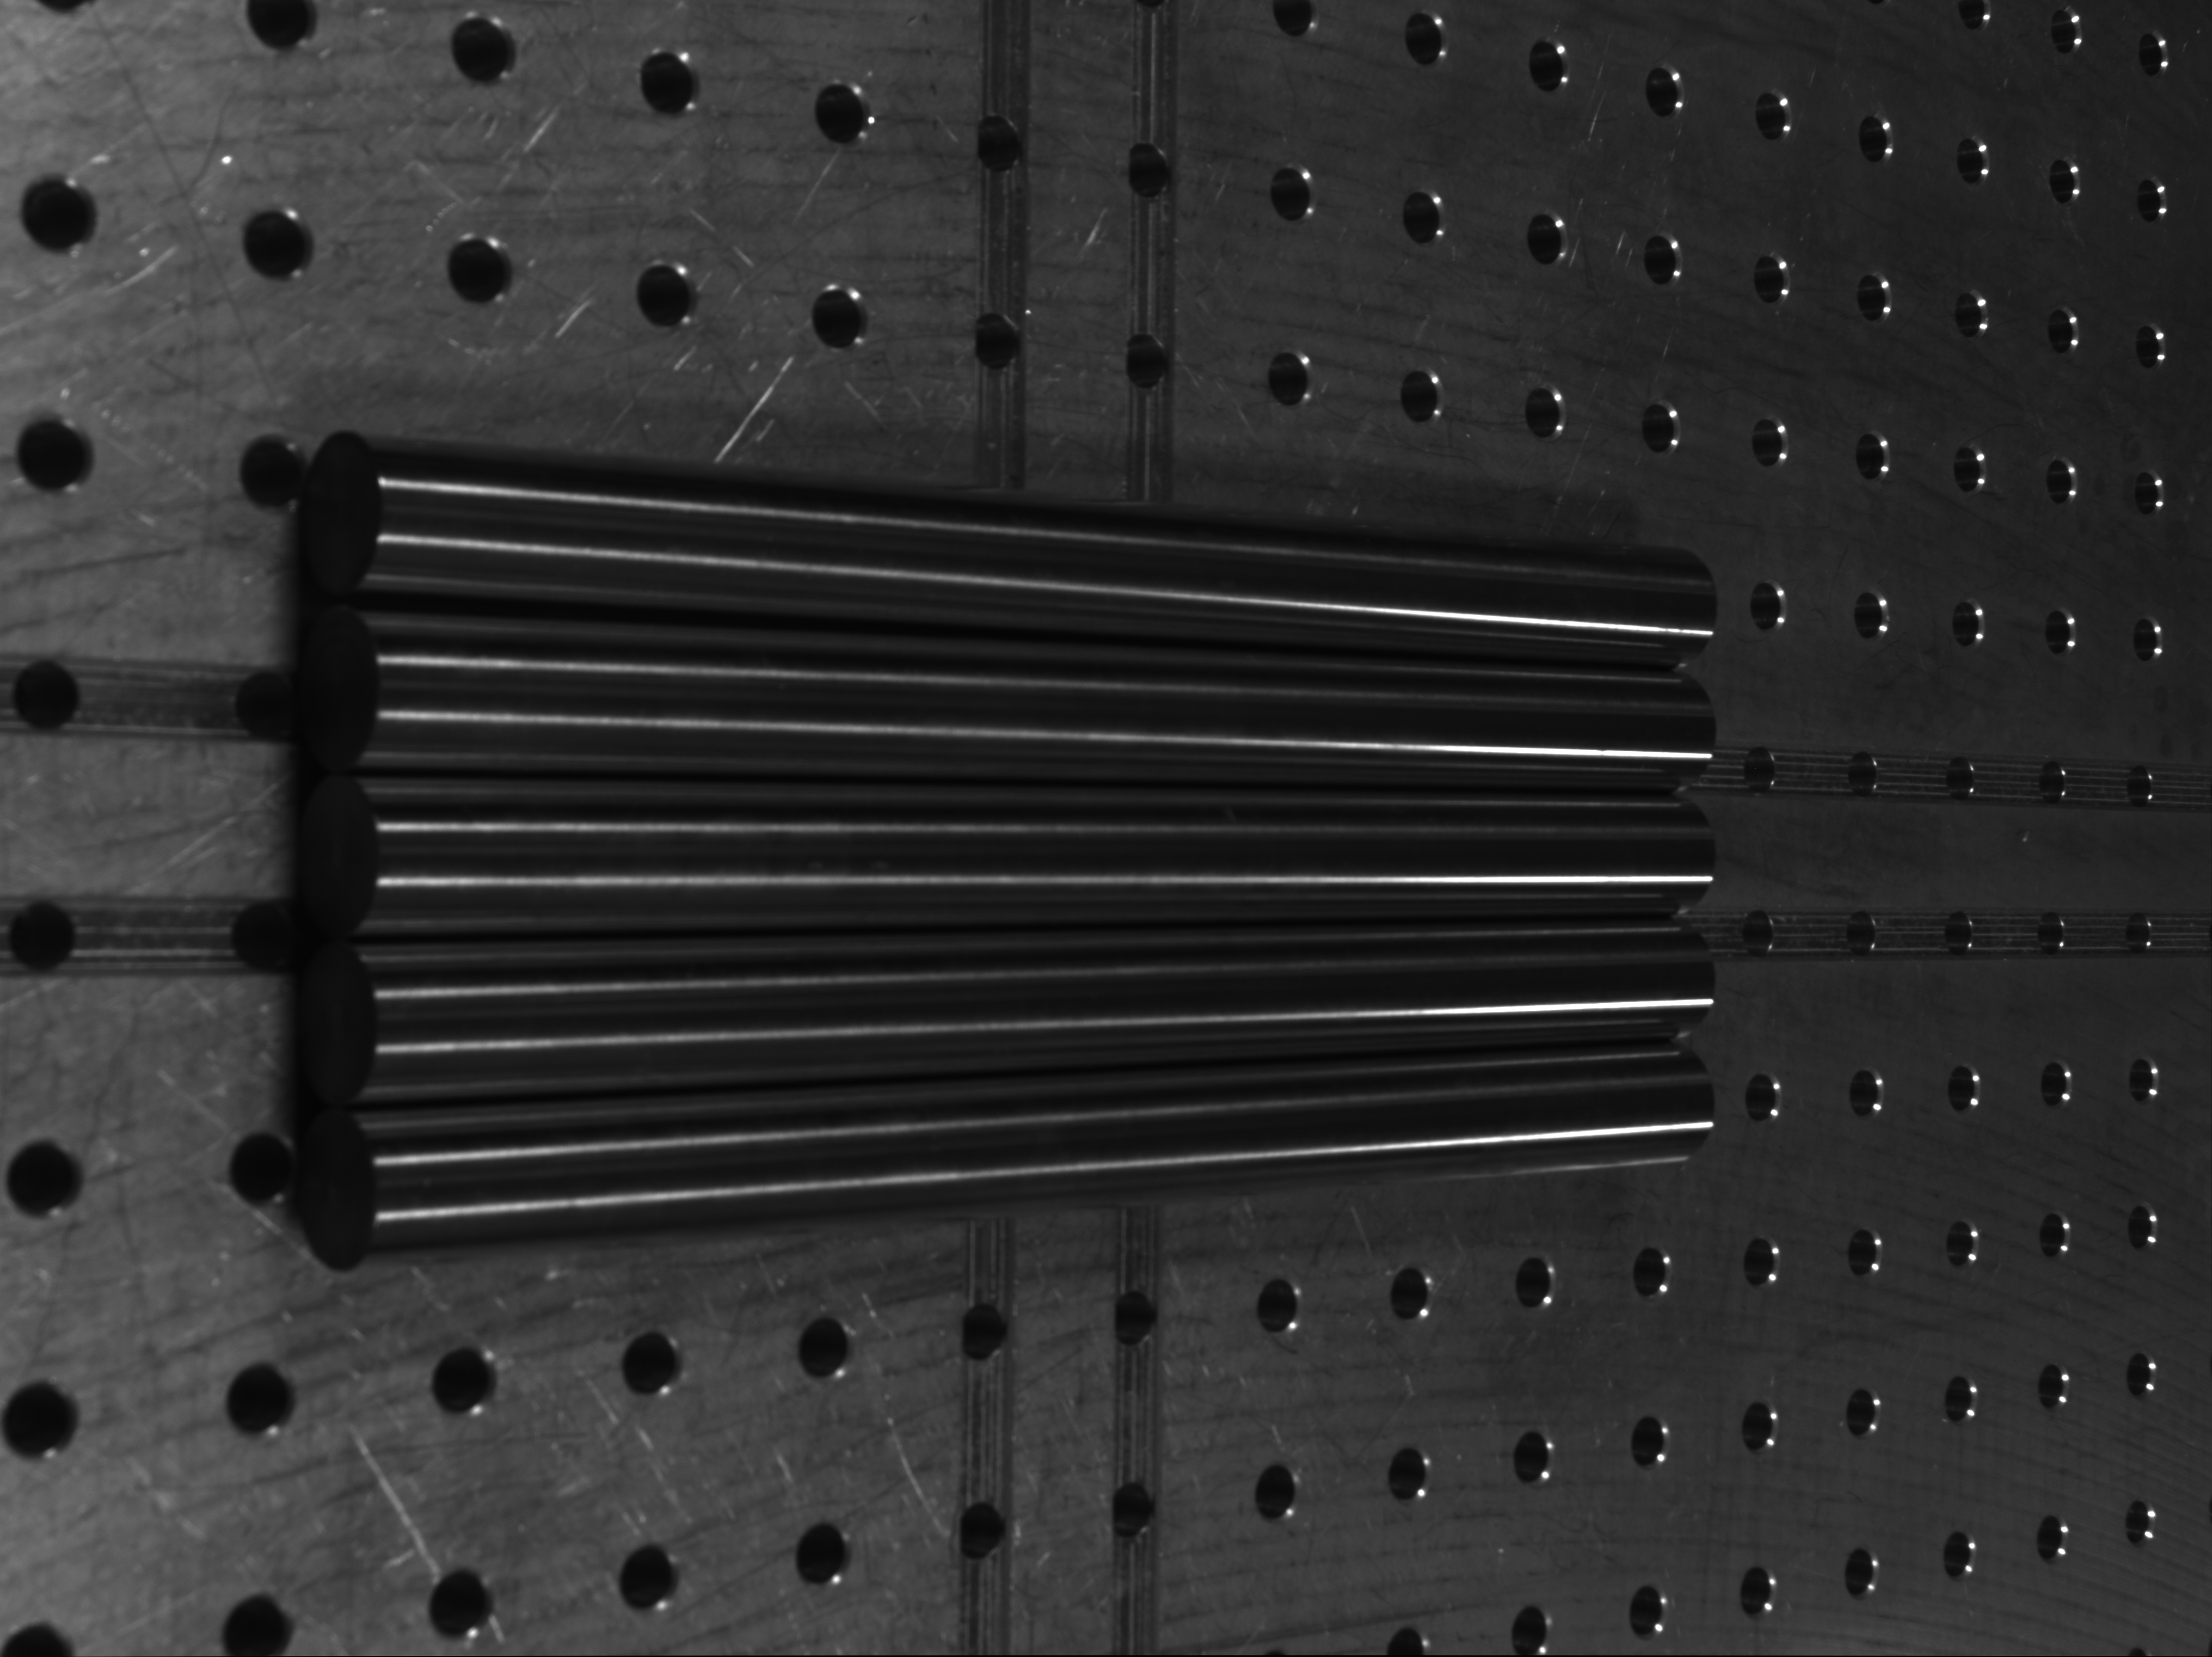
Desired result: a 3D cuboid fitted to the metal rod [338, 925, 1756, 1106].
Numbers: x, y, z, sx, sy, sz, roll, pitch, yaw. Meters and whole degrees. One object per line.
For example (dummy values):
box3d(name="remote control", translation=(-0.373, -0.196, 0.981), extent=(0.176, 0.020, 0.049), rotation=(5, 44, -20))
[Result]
box3d(name="metal rod", translation=(0.006, 0.030, 0.645), extent=(0.301, 0.025, 0.025), rotation=(1, 89, -40))

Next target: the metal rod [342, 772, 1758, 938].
box3d(name="metal rod", translation=(0.007, 0.005, 0.646), extent=(0.301, 0.025, 0.025), rotation=(1, 89, -40))

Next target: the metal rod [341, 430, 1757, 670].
box3d(name="metal rod", translation=(0.007, -0.046, 0.646), extent=(0.301, 0.025, 0.025), rotation=(1, 89, -40))

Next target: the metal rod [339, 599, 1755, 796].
box3d(name="metal rod", translation=(0.006, -0.021, 0.646), extent=(0.301, 0.025, 0.025), rotation=(1, 89, -40))

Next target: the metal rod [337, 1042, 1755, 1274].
box3d(name="metal rod", translation=(0.006, 0.055, 0.645), extent=(0.301, 0.025, 0.025), rotation=(0, 90, -40))
